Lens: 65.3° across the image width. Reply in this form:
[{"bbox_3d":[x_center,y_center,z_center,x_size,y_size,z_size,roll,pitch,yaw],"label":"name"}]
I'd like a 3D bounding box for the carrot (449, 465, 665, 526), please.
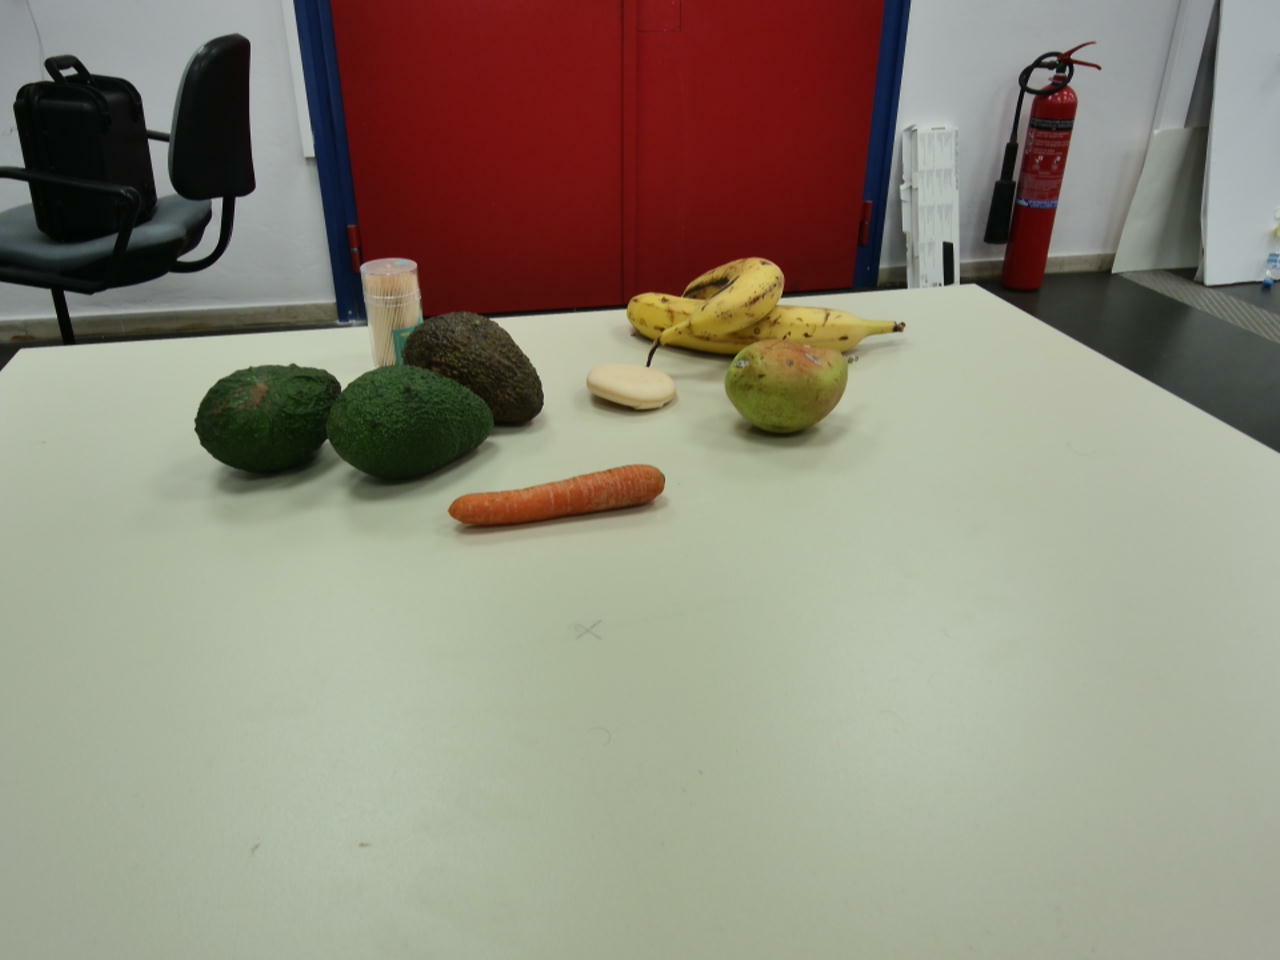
[{"bbox_3d":[-0.044,0.009,0.558,0.122,0.023,0.024,-7,27,-14],"label":"carrot"}]
